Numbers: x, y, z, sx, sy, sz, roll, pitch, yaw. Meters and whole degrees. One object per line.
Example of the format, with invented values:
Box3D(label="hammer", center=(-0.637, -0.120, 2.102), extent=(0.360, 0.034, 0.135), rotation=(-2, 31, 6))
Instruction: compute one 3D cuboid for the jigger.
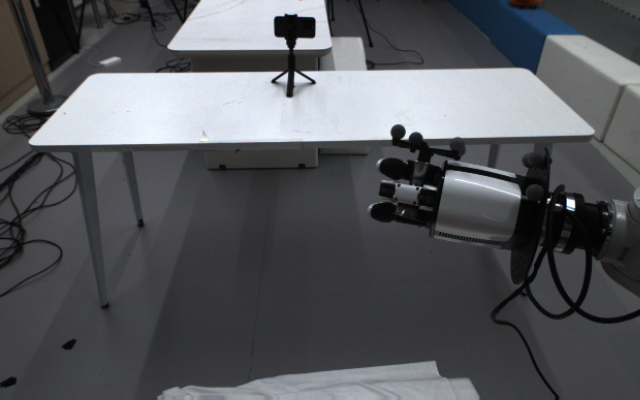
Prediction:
Box3D(label="jigger", center=(0.119, -0.011, 0.585), extent=(0.043, 0.071, 0.043), rotation=(14, 1, 0))
